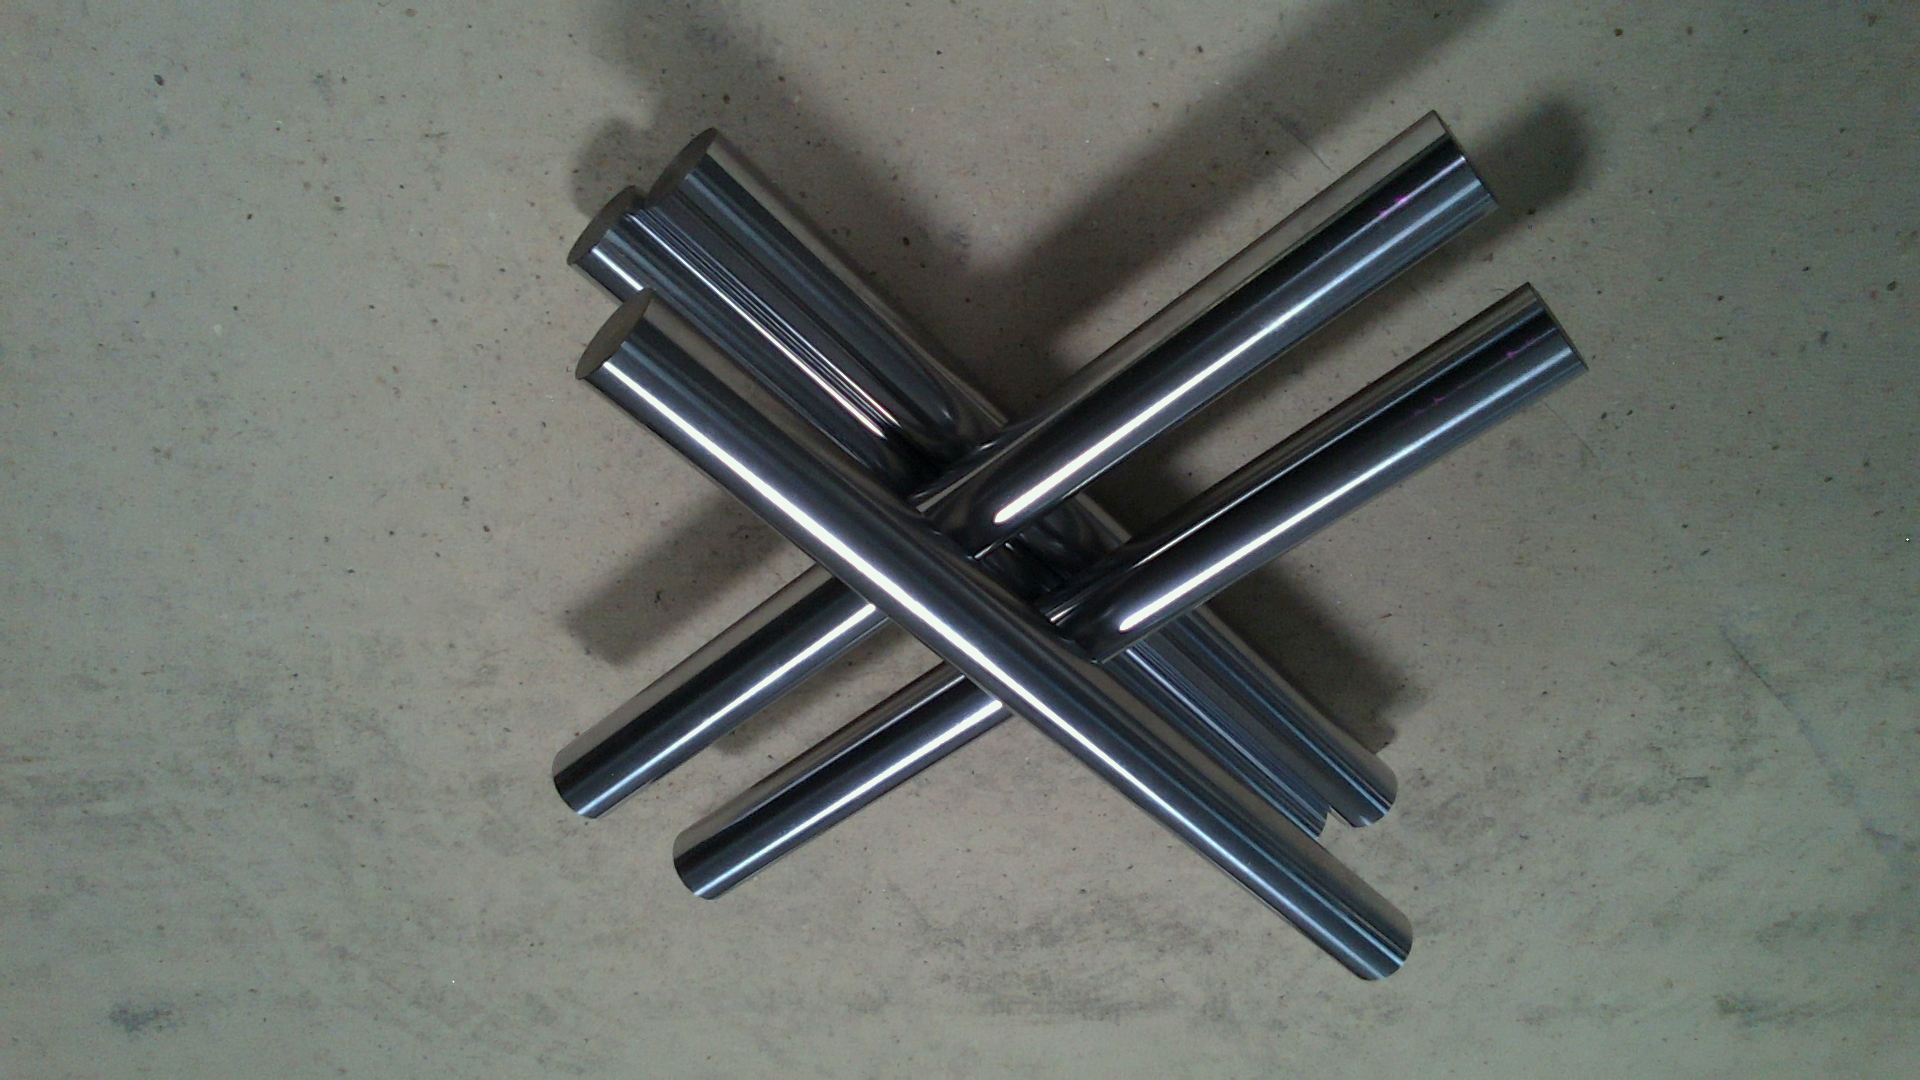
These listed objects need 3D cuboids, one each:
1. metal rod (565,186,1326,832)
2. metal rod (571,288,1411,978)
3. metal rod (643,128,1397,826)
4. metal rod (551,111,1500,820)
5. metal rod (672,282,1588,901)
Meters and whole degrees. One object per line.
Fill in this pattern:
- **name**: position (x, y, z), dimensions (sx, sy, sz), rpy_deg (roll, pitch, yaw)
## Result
- **metal rod**: position (0.015, 0.010, 0.399), dimensions (0.025, 0.025, 0.301), rpy_deg (-34, 122, 25)
- **metal rod**: position (0.028, 0.041, 0.360), dimensions (0.025, 0.025, 0.301), rpy_deg (-35, 122, 26)
- **metal rod**: position (0.035, 0.000, 0.390), dimensions (0.025, 0.025, 0.301), rpy_deg (-34, 122, 25)
- **metal rod**: position (-0.004, -0.003, 0.355), dimensions (0.299, 0.025, 0.025), rpy_deg (-35, 122, 26)
- **metal rod**: position (0.027, 0.028, 0.382), dimensions (0.299, 0.025, 0.025), rpy_deg (-35, 122, 26)
